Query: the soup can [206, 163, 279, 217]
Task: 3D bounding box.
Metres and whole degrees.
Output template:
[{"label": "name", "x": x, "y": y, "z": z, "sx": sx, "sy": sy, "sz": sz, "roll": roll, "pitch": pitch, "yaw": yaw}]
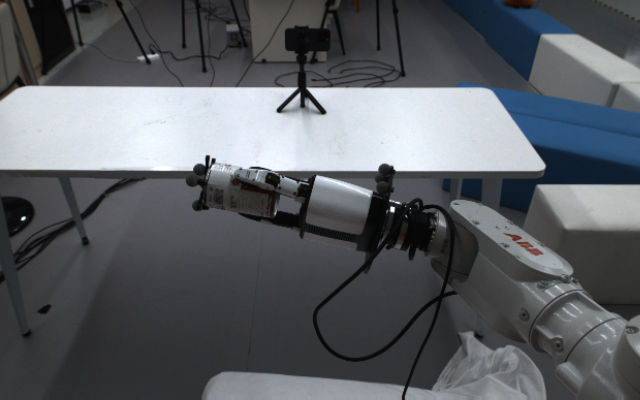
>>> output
[{"label": "soup can", "x": -0.108, "y": -0.012, "z": 0.699, "sx": 0.101, "sy": 0.067, "sz": 0.067, "roll": 10, "pitch": 35, "yaw": -1}]
